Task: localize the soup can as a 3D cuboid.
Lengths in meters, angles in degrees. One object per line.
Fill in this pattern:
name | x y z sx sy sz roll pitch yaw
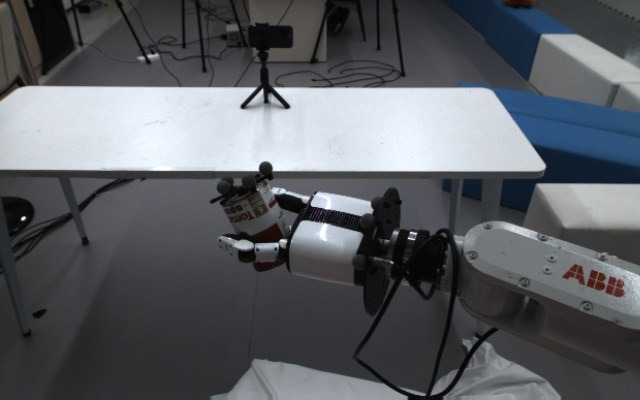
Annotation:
soup can | -0.076 0.033 0.636 0.067 0.101 0.067 -24 16 7
